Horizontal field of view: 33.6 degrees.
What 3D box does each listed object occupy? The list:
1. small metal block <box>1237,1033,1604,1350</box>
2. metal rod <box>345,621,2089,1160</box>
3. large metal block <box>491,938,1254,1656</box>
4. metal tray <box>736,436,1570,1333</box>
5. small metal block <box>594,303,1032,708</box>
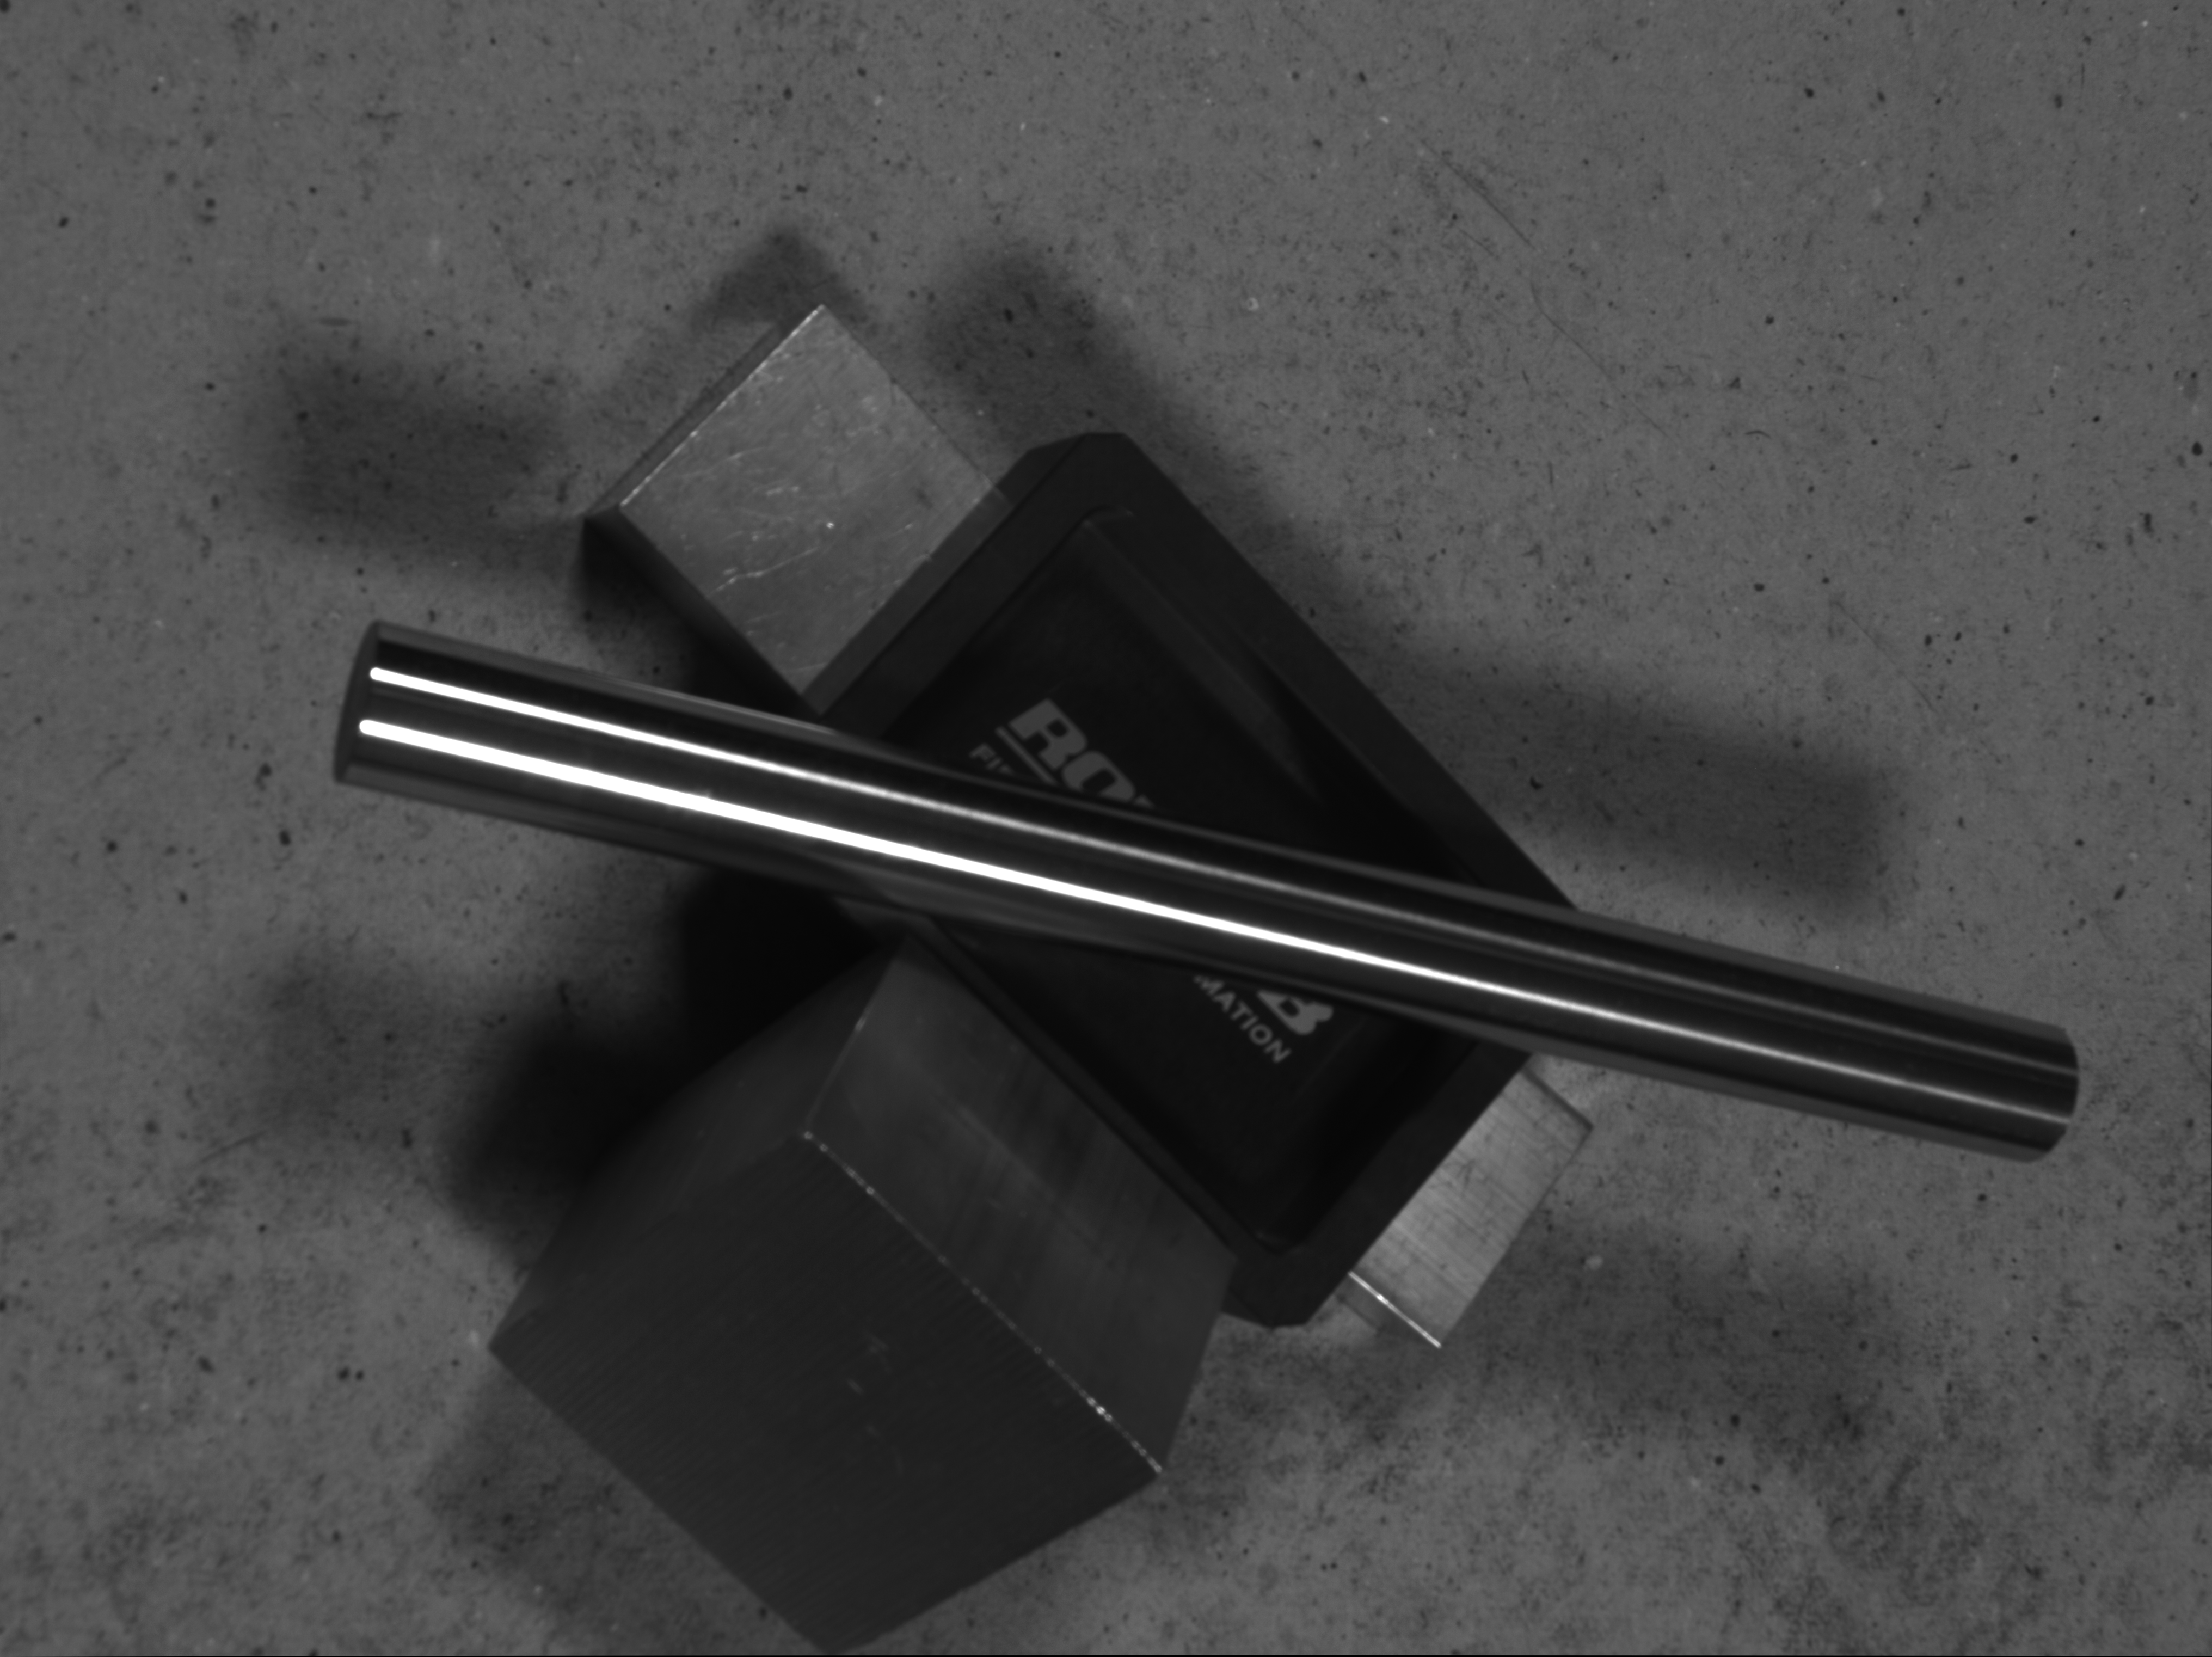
[{"bbox_3d":[0.053,0.058,0.662,0.050,0.025,0.050,40,77,-15],"label":"small metal block"},{"bbox_3d":[0.028,0.014,0.595,0.301,0.025,0.025,13,85,-19],"label":"metal rod"},{"bbox_3d":[-0.037,0.078,0.592,0.080,0.080,0.050,45,34,-14],"label":"large metal block"},{"bbox_3d":[0.012,0.010,0.618,0.130,0.030,0.090,46,76,-14],"label":"metal tray"},{"bbox_3d":[-0.050,-0.053,0.625,0.050,0.025,0.050,47,76,-14],"label":"small metal block"}]
